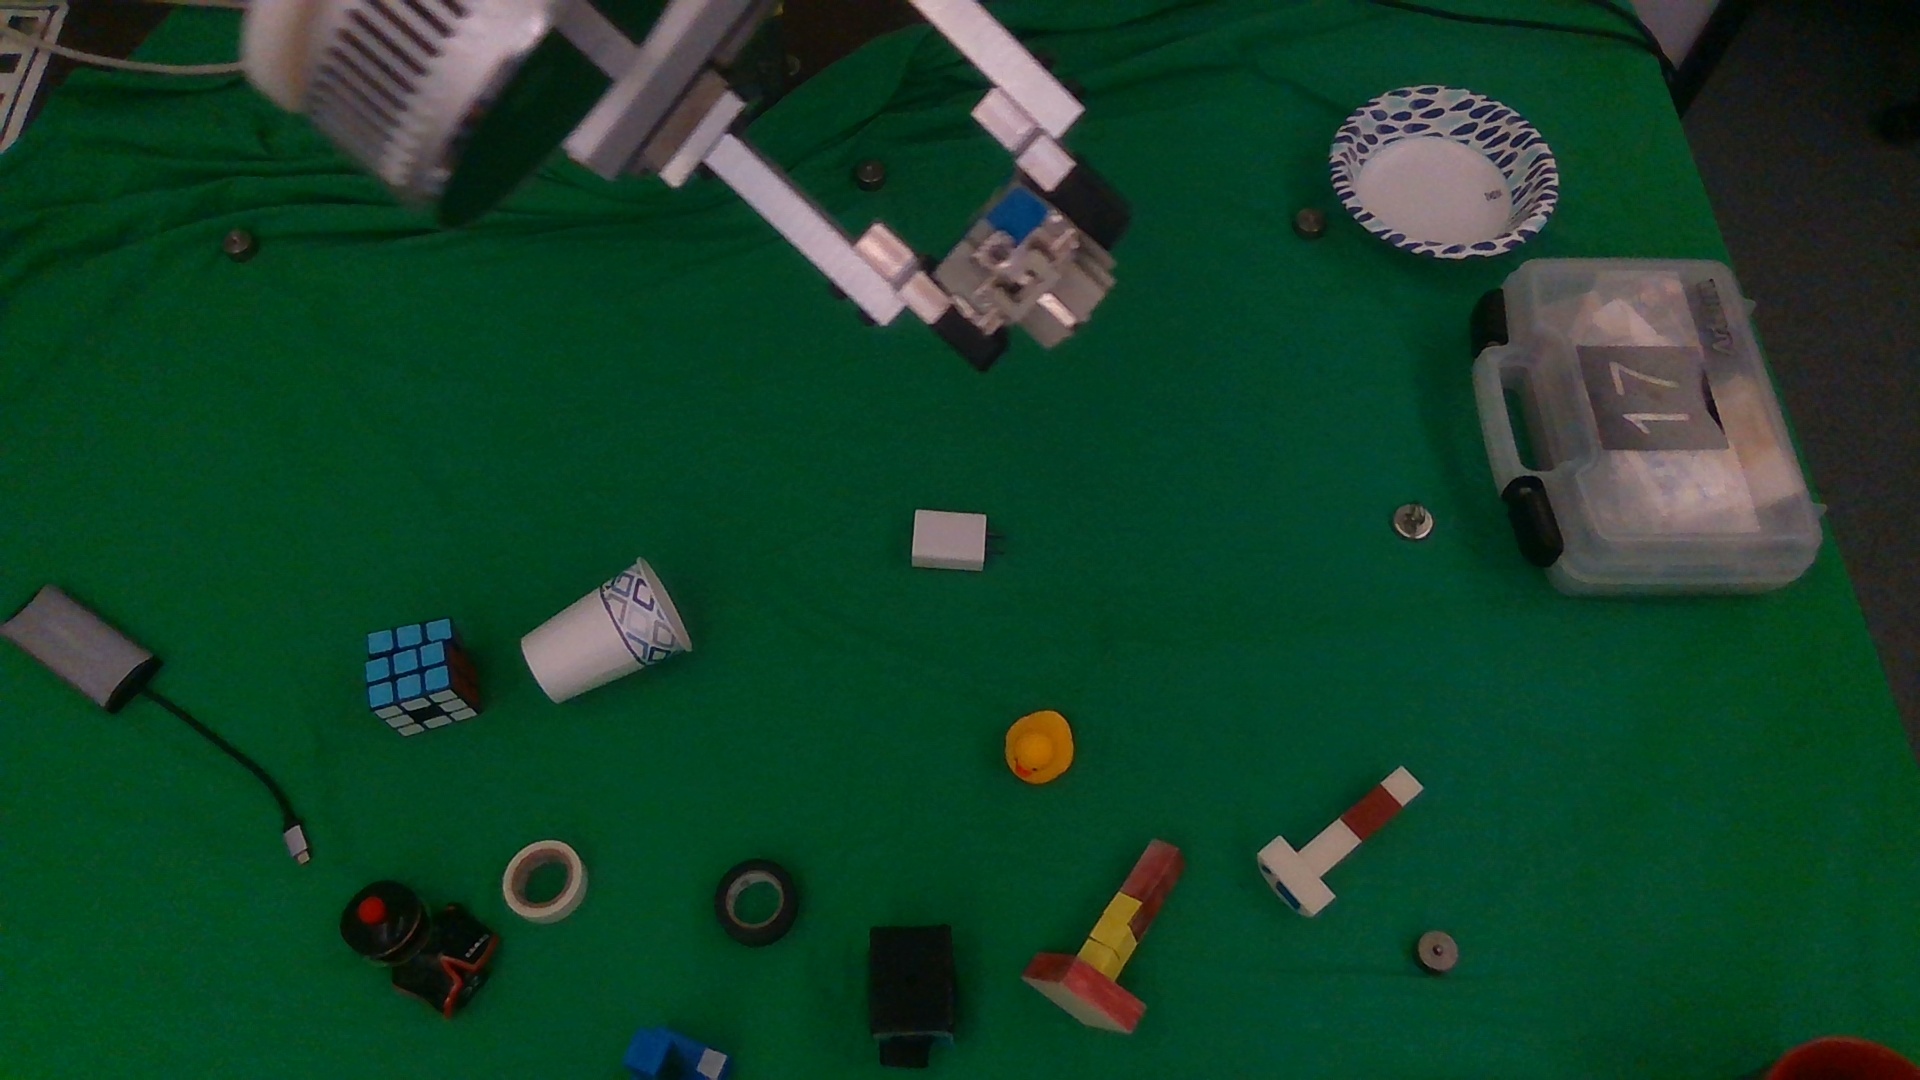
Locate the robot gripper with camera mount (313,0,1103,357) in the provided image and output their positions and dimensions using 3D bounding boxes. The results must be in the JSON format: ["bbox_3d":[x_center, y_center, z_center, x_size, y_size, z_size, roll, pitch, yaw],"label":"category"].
[{"bbox_3d":[-0.035,-0.094,0.266,0.119,0.193,0.158,-41,103,15],"label":"robot gripper with camera mount"}]

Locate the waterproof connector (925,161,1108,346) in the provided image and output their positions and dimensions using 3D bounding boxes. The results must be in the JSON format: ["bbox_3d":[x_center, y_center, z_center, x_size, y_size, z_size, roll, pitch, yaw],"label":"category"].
[{"bbox_3d":[0.017,-0.073,0.361,0.037,0.065,0.035,41,110,-9],"label":"waterproof connector"}]
